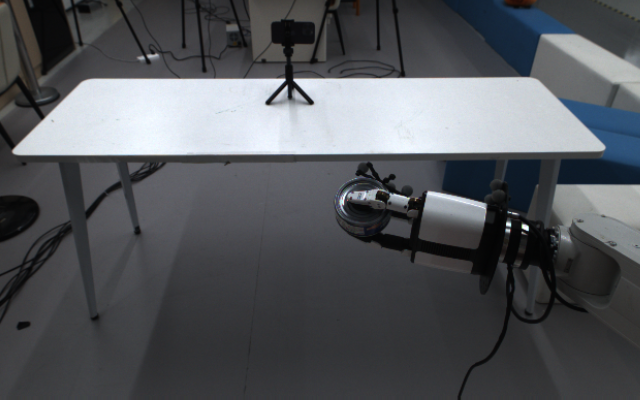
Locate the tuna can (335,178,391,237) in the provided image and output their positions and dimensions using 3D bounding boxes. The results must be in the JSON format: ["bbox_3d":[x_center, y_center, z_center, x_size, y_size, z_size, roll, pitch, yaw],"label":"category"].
[{"bbox_3d":[0.068,0.015,0.716,0.085,0.034,0.085,-4,58,6],"label":"tuna can"}]
